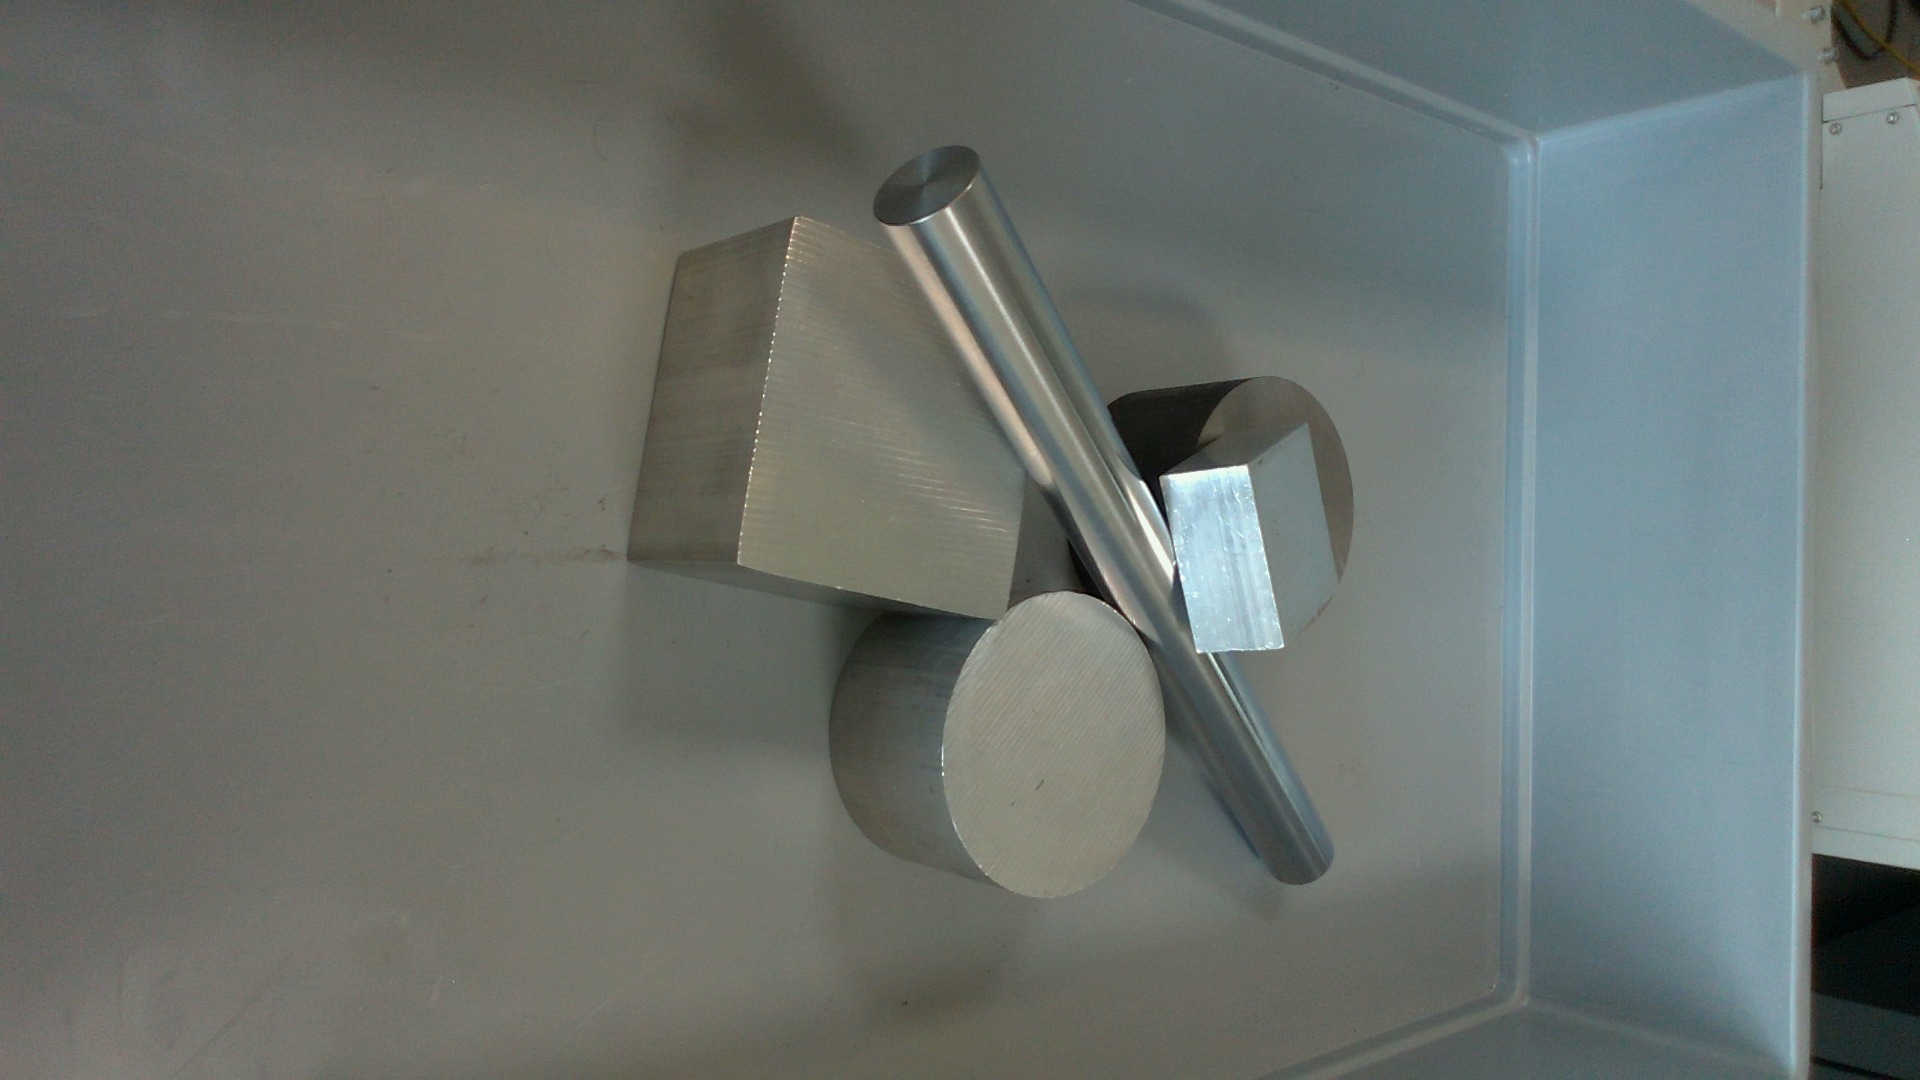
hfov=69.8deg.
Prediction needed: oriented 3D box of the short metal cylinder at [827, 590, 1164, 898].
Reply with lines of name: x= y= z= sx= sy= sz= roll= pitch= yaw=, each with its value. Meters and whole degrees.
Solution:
short metal cylinder: x=0.011 y=0.053 z=0.380 sx=0.080 sy=0.050 sz=0.080 roll=0 pitch=90 yaw=-40

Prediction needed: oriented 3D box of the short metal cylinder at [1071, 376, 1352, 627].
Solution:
short metal cylinder: x=0.080 y=-0.010 z=0.438 sx=0.080 sy=0.050 sz=0.080 roll=0 pitch=90 yaw=-40

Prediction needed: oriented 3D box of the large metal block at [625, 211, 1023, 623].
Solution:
large metal block: x=-0.029 y=-0.026 z=0.344 sx=0.080 sy=0.050 sz=0.080 roll=14 pitch=81 yaw=-39

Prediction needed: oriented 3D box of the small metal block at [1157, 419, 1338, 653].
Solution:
small metal block: x=0.081 y=-0.002 z=0.381 sx=0.050 sy=0.025 sz=0.050 roll=-31 pitch=110 yaw=-54

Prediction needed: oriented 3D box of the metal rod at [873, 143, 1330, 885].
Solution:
metal rod: x=0.056 y=0.018 z=0.388 sx=0.025 sy=0.025 sz=0.301 roll=-58 pitch=137 yaw=-24
